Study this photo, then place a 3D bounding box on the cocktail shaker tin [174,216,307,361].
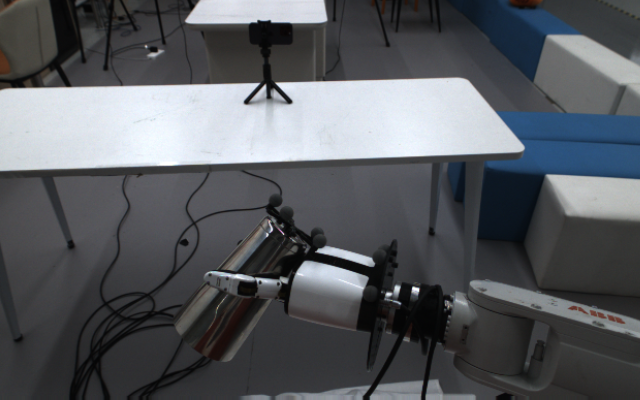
[{"bbox_3d":[-0.092,0.103,0.608,0.170,0.093,0.093,-50,46,4],"label":"cocktail shaker tin"}]
